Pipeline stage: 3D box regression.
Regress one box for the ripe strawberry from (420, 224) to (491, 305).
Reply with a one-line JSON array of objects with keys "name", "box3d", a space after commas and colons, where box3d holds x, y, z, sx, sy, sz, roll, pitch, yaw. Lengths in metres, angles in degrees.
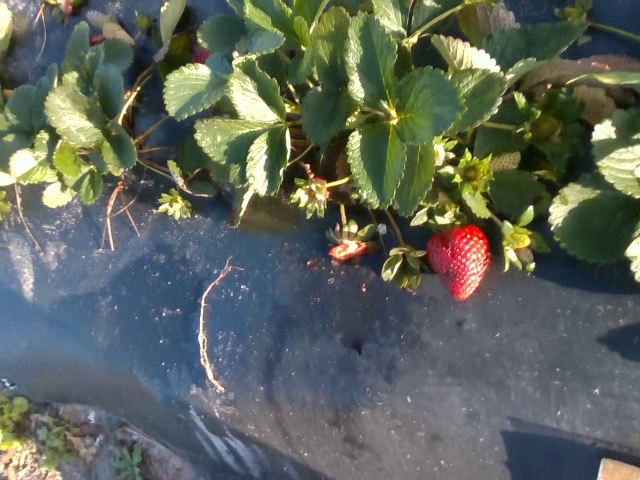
[{"name": "ripe strawberry", "box3d": [0.096, 0.020, 0.434, 0.052, 0.051, 0.041, -20, -41, 39]}]
